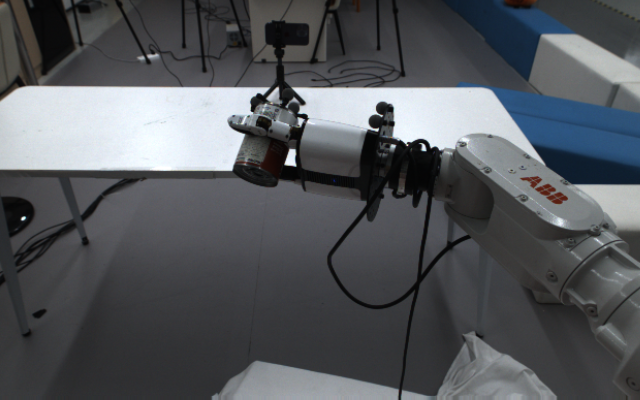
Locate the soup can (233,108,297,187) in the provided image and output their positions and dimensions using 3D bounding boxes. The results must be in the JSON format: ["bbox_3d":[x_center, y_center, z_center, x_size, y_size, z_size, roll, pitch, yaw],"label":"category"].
[{"bbox_3d":[-0.076,-0.078,0.686,0.067,0.067,0.101,12,70,14],"label":"soup can"}]
